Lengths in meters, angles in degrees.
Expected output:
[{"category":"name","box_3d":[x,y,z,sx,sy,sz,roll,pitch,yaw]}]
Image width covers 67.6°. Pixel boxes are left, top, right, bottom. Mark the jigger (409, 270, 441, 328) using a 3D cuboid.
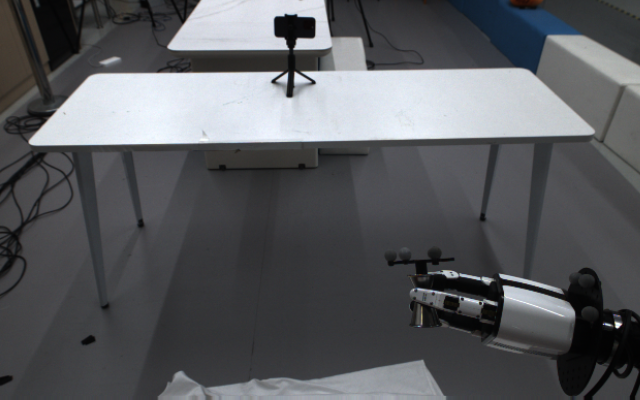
[{"category":"jigger","box_3d":[0.138,0.132,0.647,0.043,0.071,0.043,-2,-7,0]}]
